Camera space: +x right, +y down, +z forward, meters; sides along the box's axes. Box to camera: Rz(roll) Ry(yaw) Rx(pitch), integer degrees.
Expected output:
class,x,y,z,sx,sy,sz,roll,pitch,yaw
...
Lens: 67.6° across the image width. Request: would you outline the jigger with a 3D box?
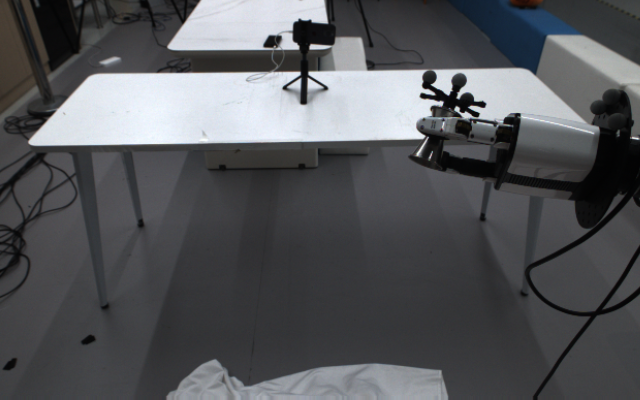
class,x,y,z,sx,sy,sz,roll,pitch,yaw
jigger,0.139,-0.078,0.592,0.043,0.071,0.043,25,-3,1
